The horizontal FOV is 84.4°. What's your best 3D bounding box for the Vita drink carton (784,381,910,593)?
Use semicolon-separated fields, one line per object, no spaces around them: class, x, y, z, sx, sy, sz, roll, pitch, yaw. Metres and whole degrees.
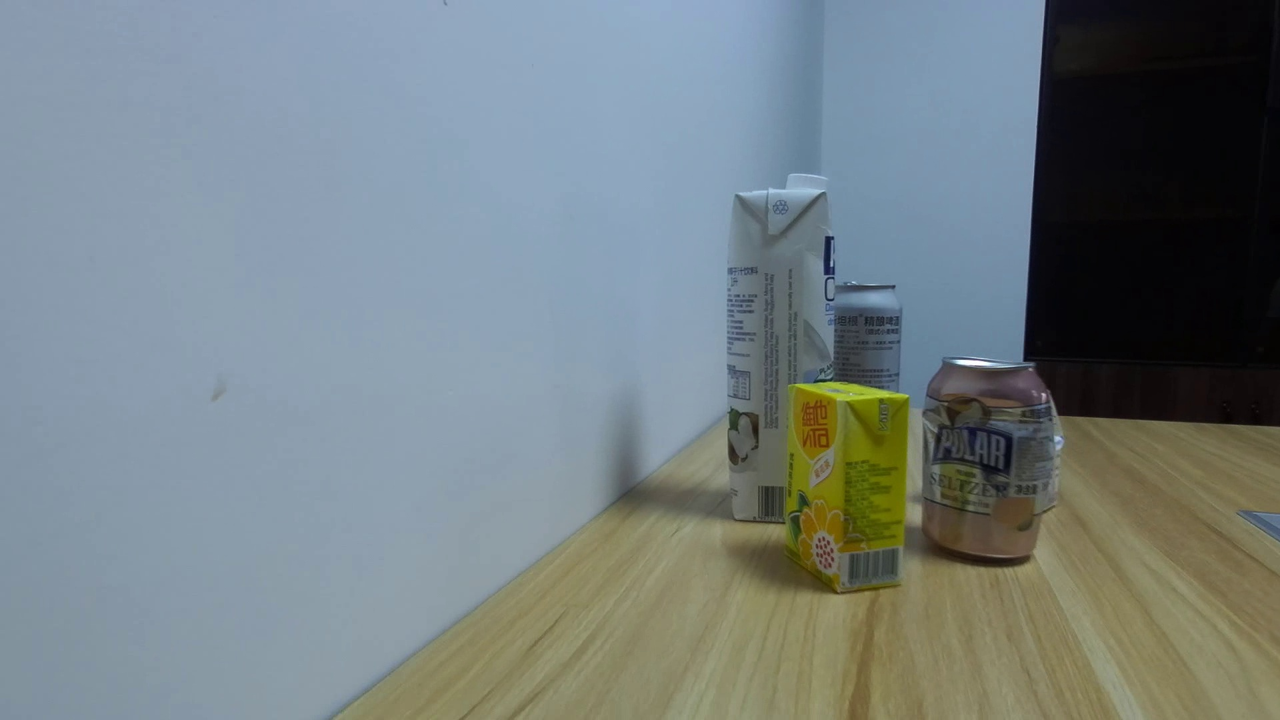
Vita drink carton;0.118;0.070;0.412;0.044;0.109;0.066;-1;6;-16

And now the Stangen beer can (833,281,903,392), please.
Stangen beer can;0.184;0.020;0.595;0.067;0.171;0.067;-1;7;0

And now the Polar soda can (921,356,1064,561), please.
Polar soda can;0.218;0.060;0.450;0.067;0.121;0.074;1;7;-4
